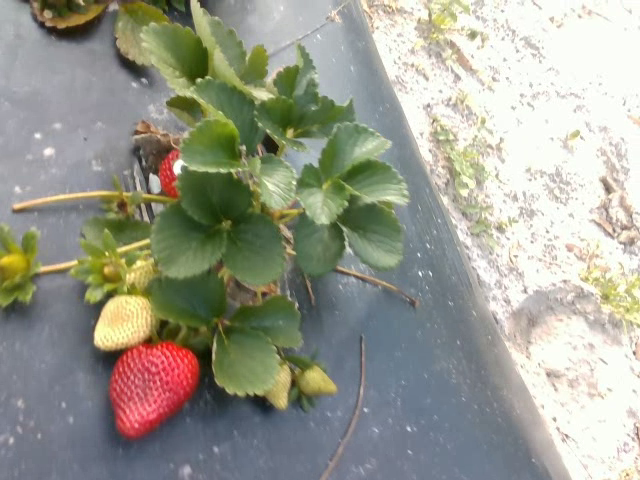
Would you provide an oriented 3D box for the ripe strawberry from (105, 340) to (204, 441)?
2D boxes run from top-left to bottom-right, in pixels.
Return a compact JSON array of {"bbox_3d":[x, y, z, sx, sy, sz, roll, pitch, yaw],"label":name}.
[{"bbox_3d":[-0.096,0.082,0.332,0.051,0.048,0.055,0,26,14],"label":"ripe strawberry"}]
